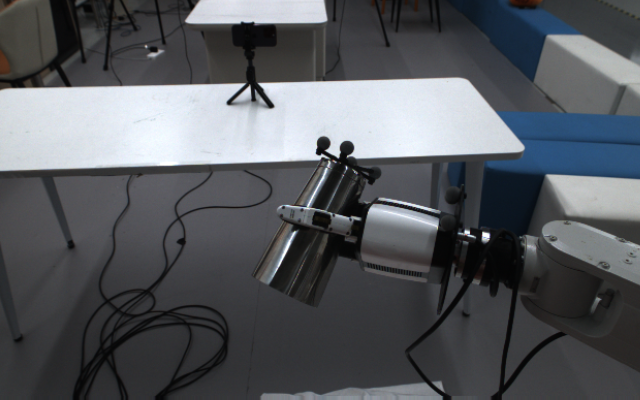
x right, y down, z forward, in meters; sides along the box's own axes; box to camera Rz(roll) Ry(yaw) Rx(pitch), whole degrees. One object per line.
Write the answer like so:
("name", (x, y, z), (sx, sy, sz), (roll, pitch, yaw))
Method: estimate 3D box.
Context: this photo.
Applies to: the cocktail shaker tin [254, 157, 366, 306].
("cocktail shaker tin", (-0.005, 0.036, 0.610), (0.093, 0.093, 0.170), (21, 81, 25))
